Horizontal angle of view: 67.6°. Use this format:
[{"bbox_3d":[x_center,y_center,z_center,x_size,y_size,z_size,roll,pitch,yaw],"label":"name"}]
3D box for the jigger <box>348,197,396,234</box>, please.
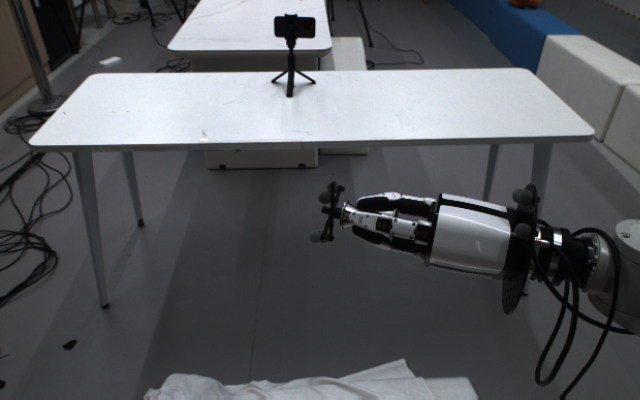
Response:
[{"bbox_3d":[0.070,0.022,0.631,0.071,0.043,0.043,10,35,16],"label":"jigger"}]
